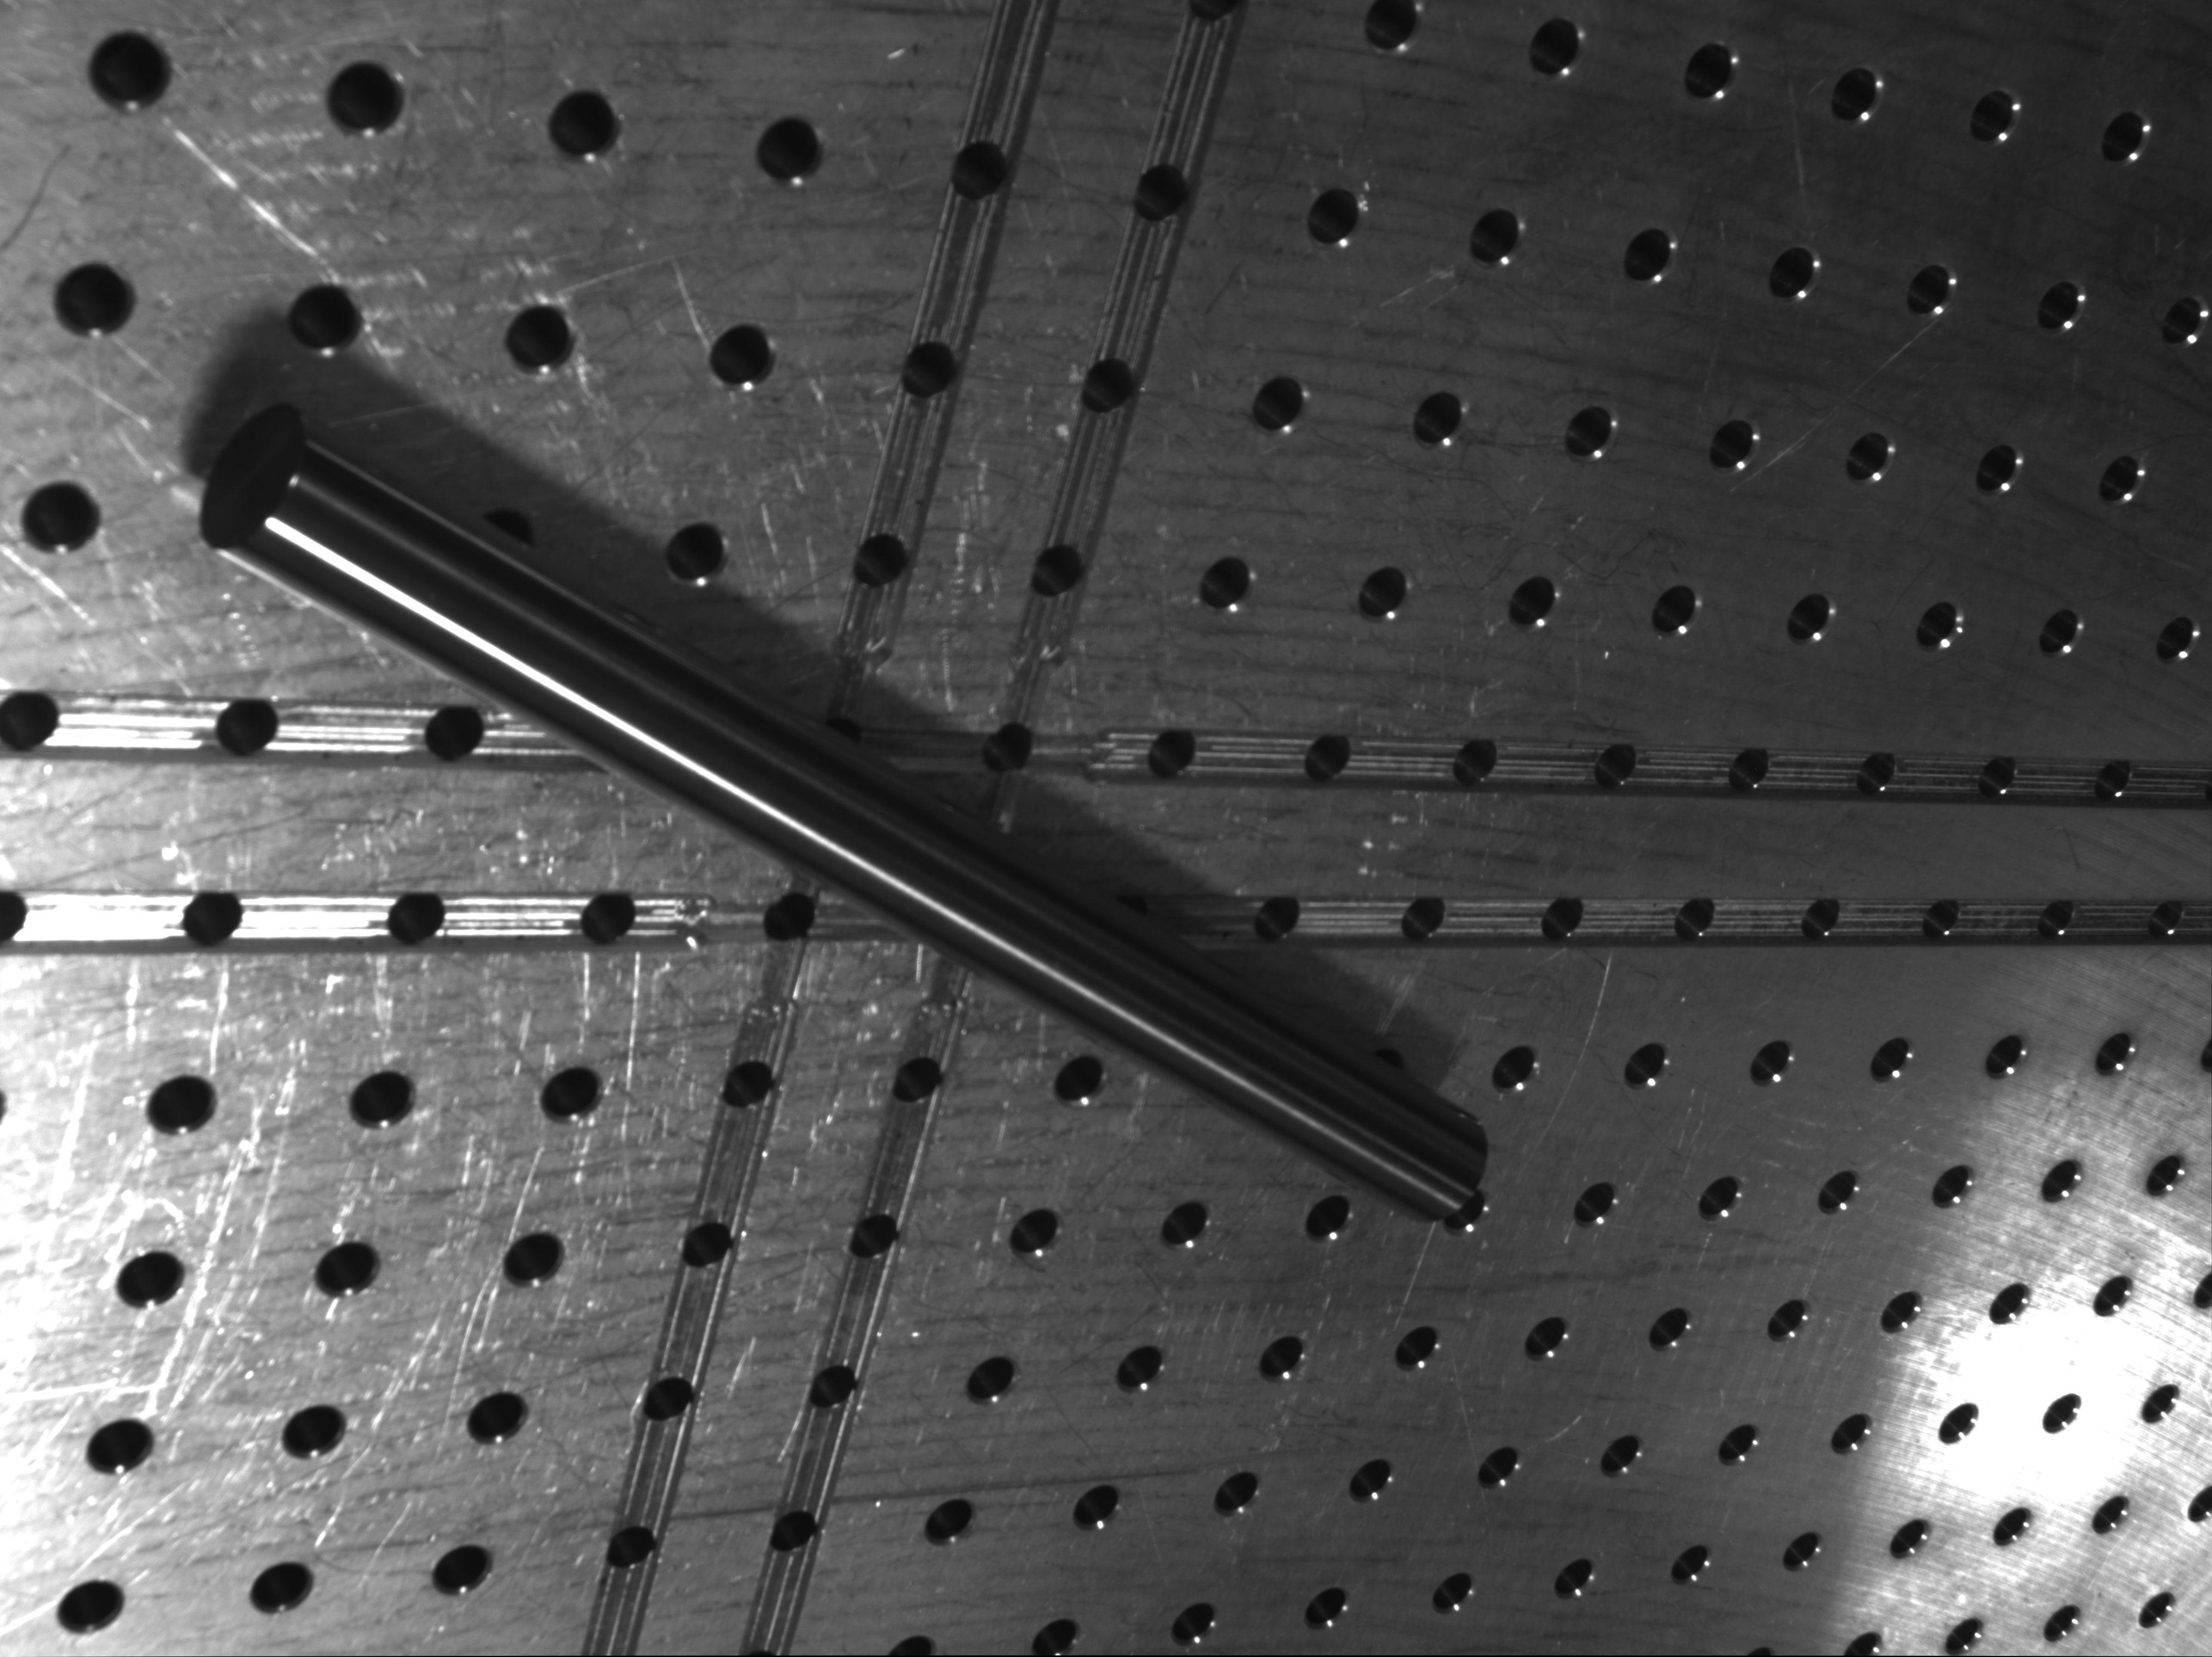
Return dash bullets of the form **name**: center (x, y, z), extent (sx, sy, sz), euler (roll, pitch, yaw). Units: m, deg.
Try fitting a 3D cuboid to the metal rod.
- **metal rod**: center (-0.021, 0.008, 0.647), extent (0.301, 0.025, 0.025), euler (32, 100, -39)
